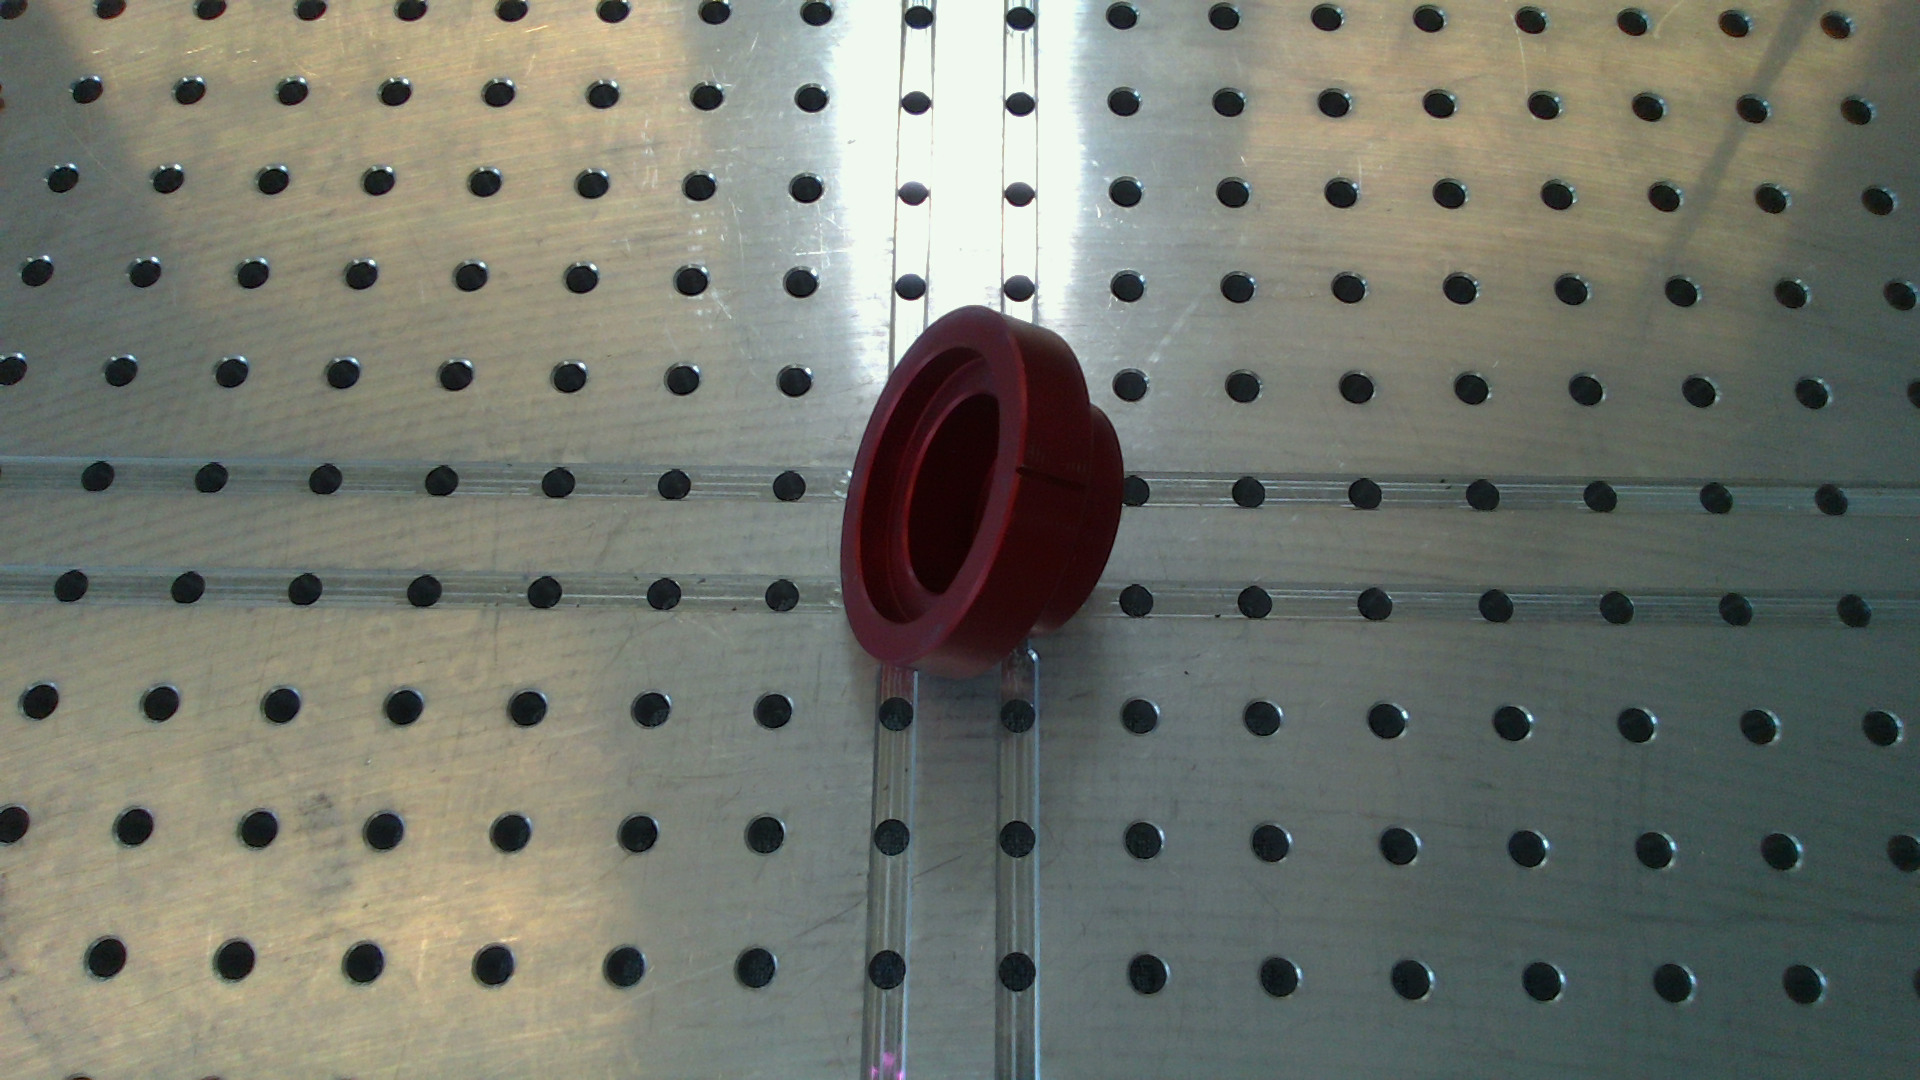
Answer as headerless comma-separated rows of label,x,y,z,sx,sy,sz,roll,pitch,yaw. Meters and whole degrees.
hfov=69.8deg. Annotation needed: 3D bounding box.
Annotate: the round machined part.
round machined part,0.008,-0.011,0.372,0.042,0.098,0.098,15,67,-28
